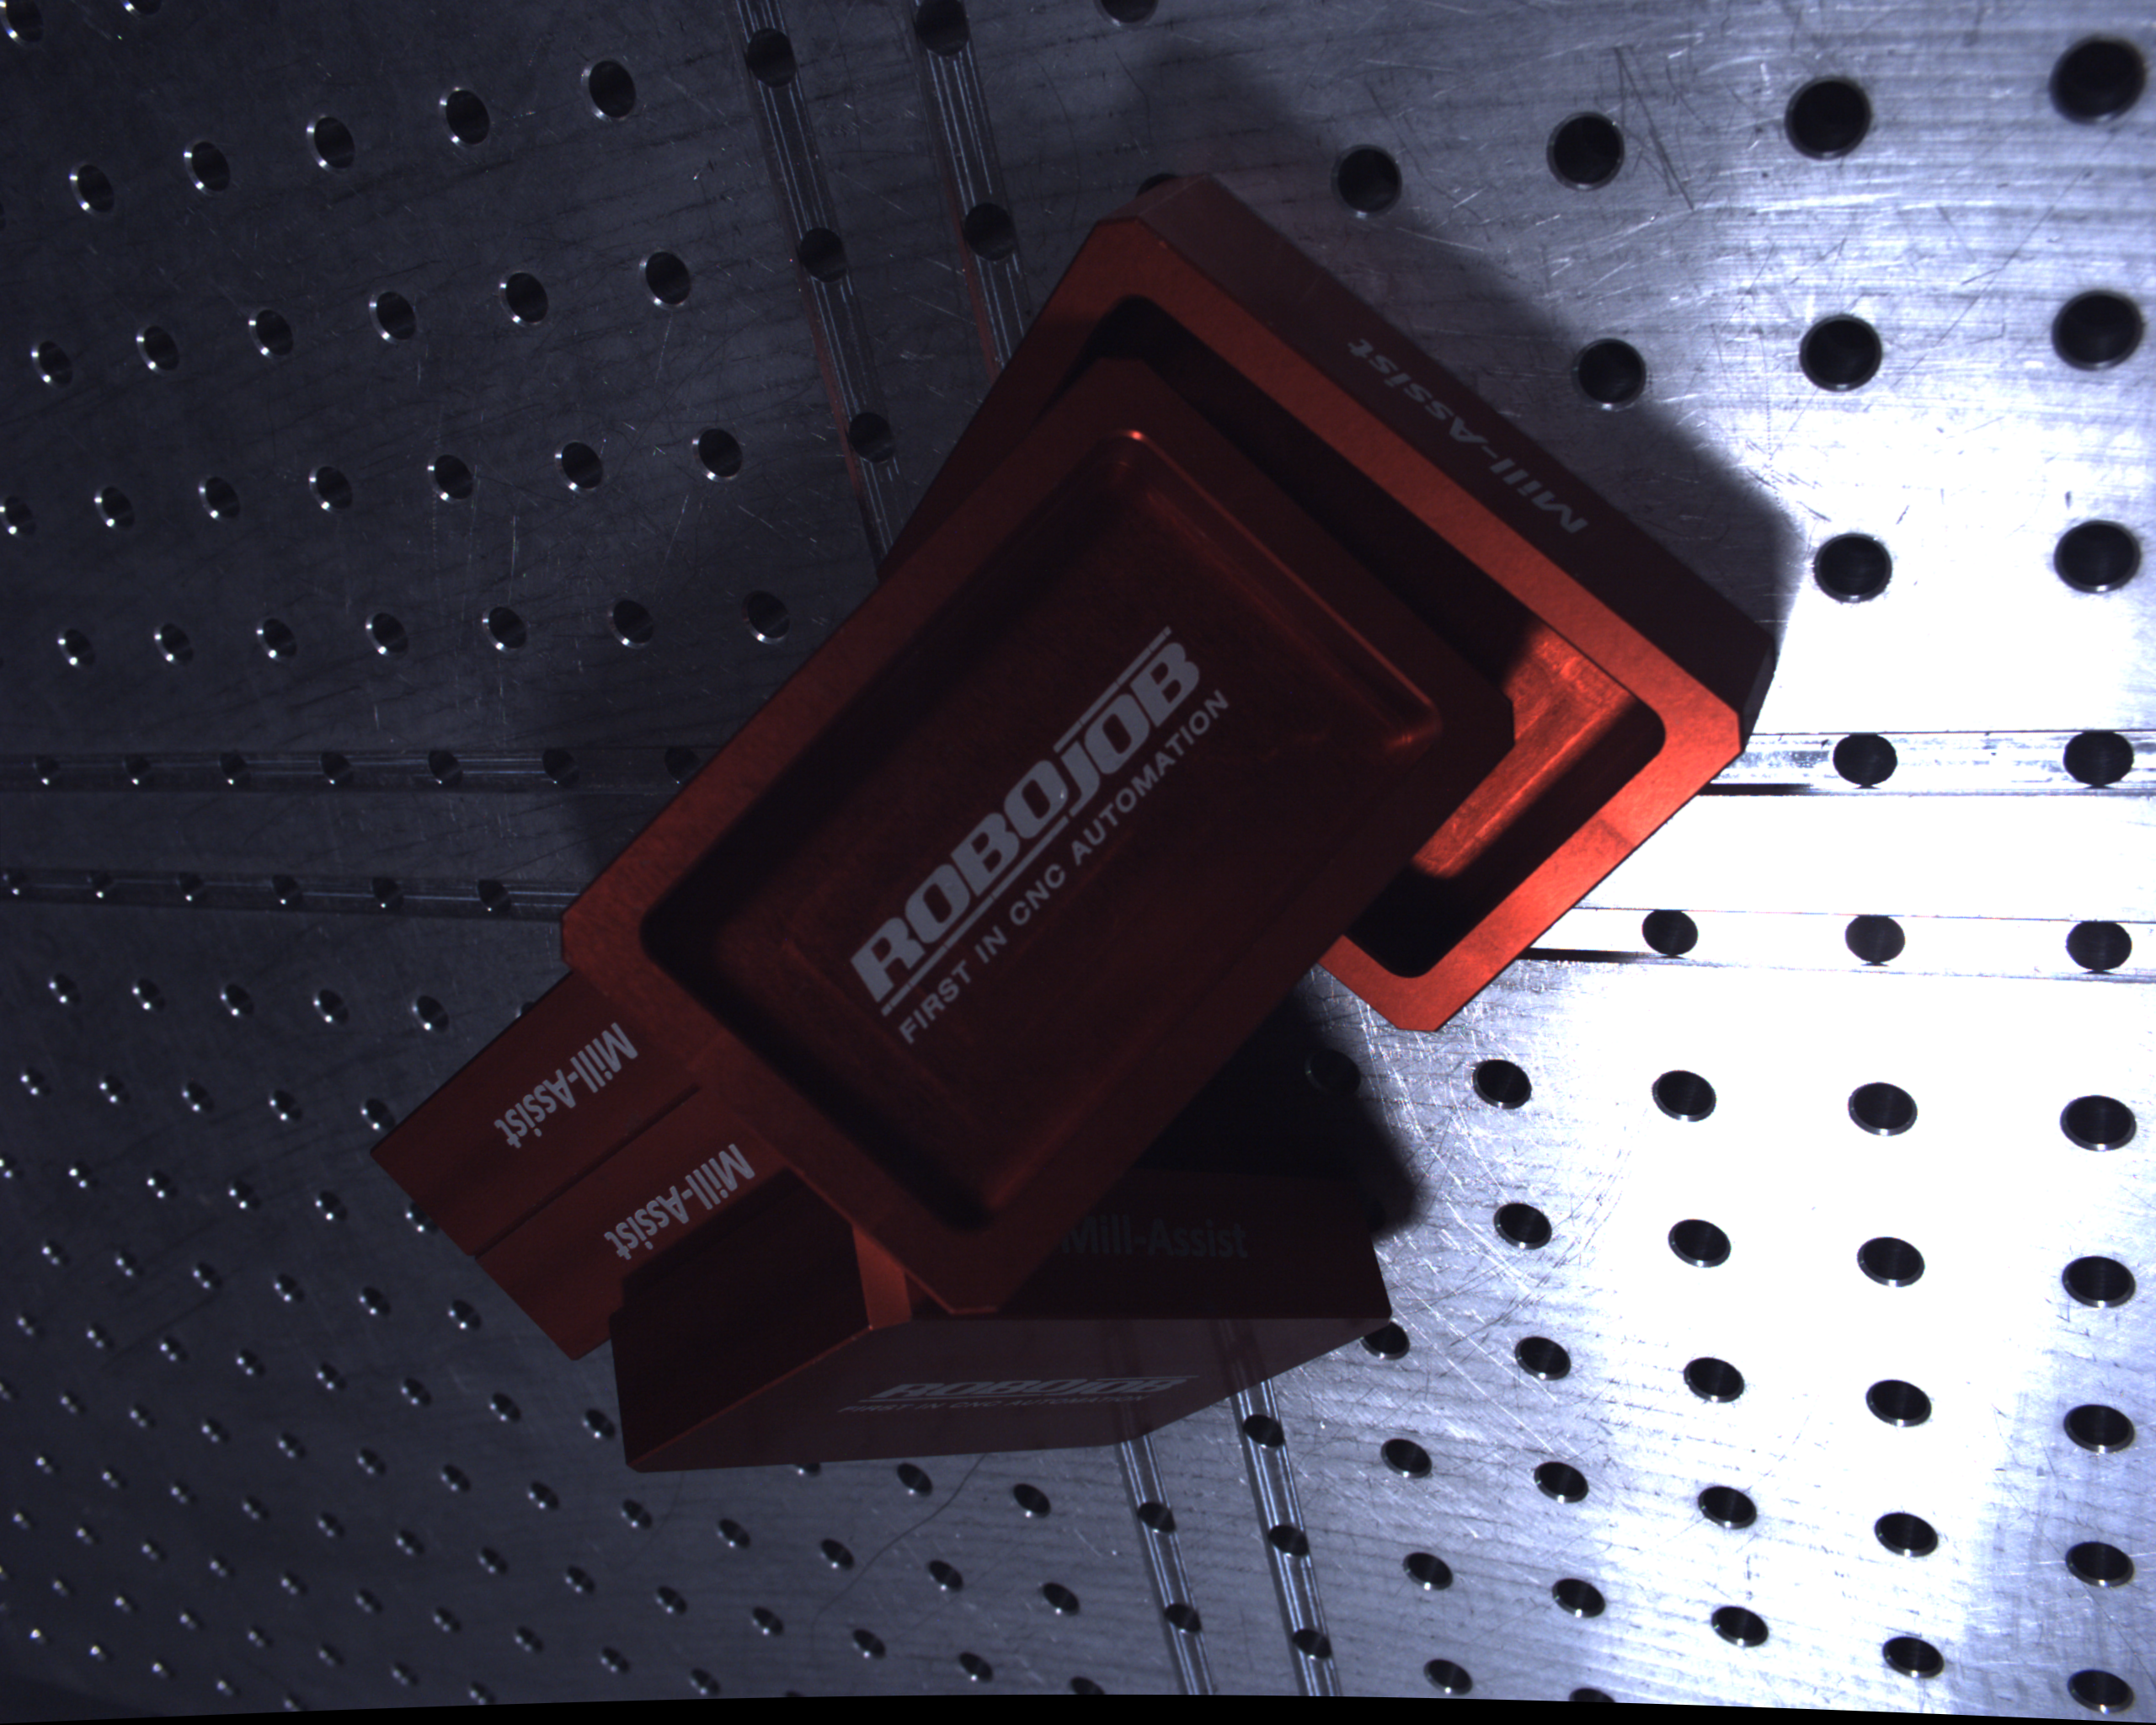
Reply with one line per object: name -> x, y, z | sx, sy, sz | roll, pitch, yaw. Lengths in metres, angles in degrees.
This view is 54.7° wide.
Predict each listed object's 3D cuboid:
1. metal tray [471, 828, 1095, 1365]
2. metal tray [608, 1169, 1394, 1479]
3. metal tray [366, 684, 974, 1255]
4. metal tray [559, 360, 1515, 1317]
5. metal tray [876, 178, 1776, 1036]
metal tray -> -0.057, 0.043, 0.422 | 0.030, 0.090, 0.129 | 49, 128, -6
metal tray -> -0.013, 0.091, 0.413 | 0.090, 0.131, 0.030 | -36, 57, 39
metal tray -> -0.078, 0.020, 0.420 | 0.030, 0.090, 0.129 | 49, 128, -6
metal tray -> -0.006, -0.004, 0.337 | 0.090, 0.030, 0.130 | 43, 84, -2
metal tray -> 0.040, -0.041, 0.359 | 0.130, 0.030, 0.089 | 39, 129, 1
